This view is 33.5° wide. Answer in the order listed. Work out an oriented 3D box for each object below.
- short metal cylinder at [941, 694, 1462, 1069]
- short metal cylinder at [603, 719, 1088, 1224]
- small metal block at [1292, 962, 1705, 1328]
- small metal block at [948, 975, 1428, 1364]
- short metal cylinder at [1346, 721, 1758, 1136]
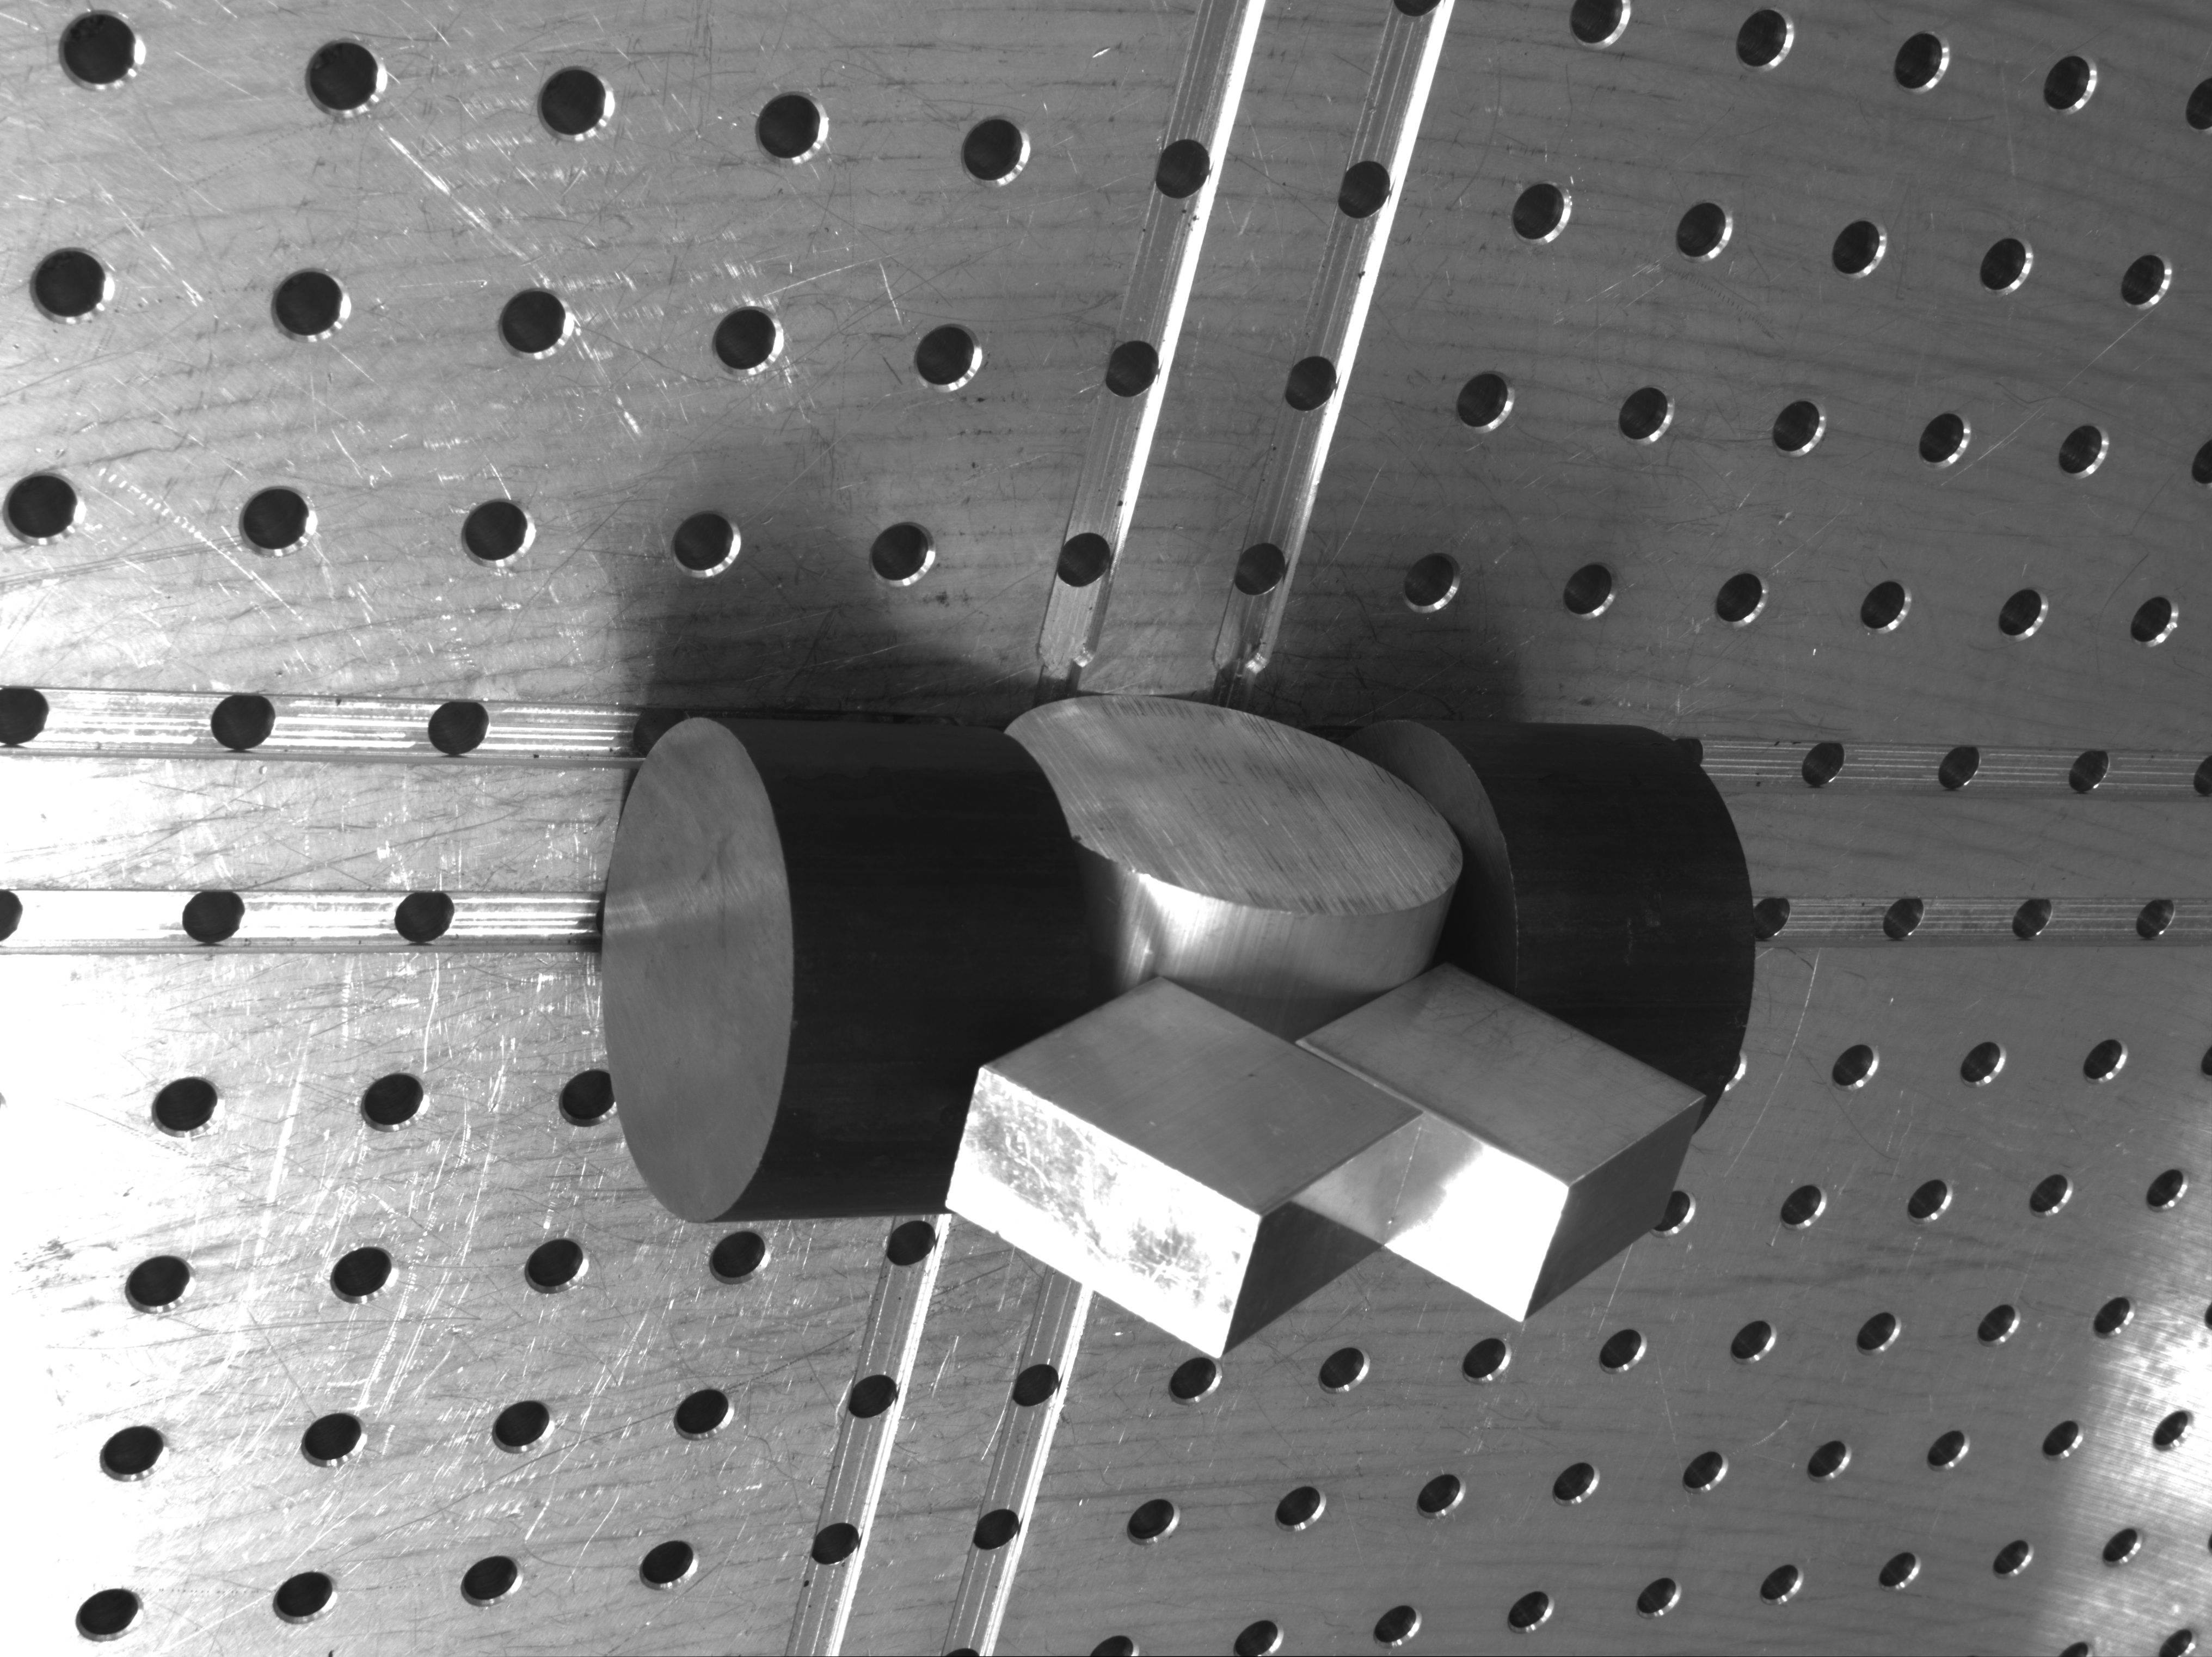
[{"bbox_3d":[0.015,0.017,0.624,0.080,0.080,0.050,1,118,-29],"label":"short metal cylinder"},{"bbox_3d":[-0.044,0.023,0.595,0.050,0.080,0.080,1,118,-28],"label":"short metal cylinder"},{"bbox_3d":[0.060,0.049,0.589,0.050,0.050,0.025,-23,134,-54],"label":"small metal block"},{"bbox_3d":[0.013,0.050,0.558,0.050,0.050,0.025,-24,135,-54],"label":"small metal block"},{"bbox_3d":[0.072,0.022,0.656,0.050,0.080,0.080,1,118,-28],"label":"short metal cylinder"}]
